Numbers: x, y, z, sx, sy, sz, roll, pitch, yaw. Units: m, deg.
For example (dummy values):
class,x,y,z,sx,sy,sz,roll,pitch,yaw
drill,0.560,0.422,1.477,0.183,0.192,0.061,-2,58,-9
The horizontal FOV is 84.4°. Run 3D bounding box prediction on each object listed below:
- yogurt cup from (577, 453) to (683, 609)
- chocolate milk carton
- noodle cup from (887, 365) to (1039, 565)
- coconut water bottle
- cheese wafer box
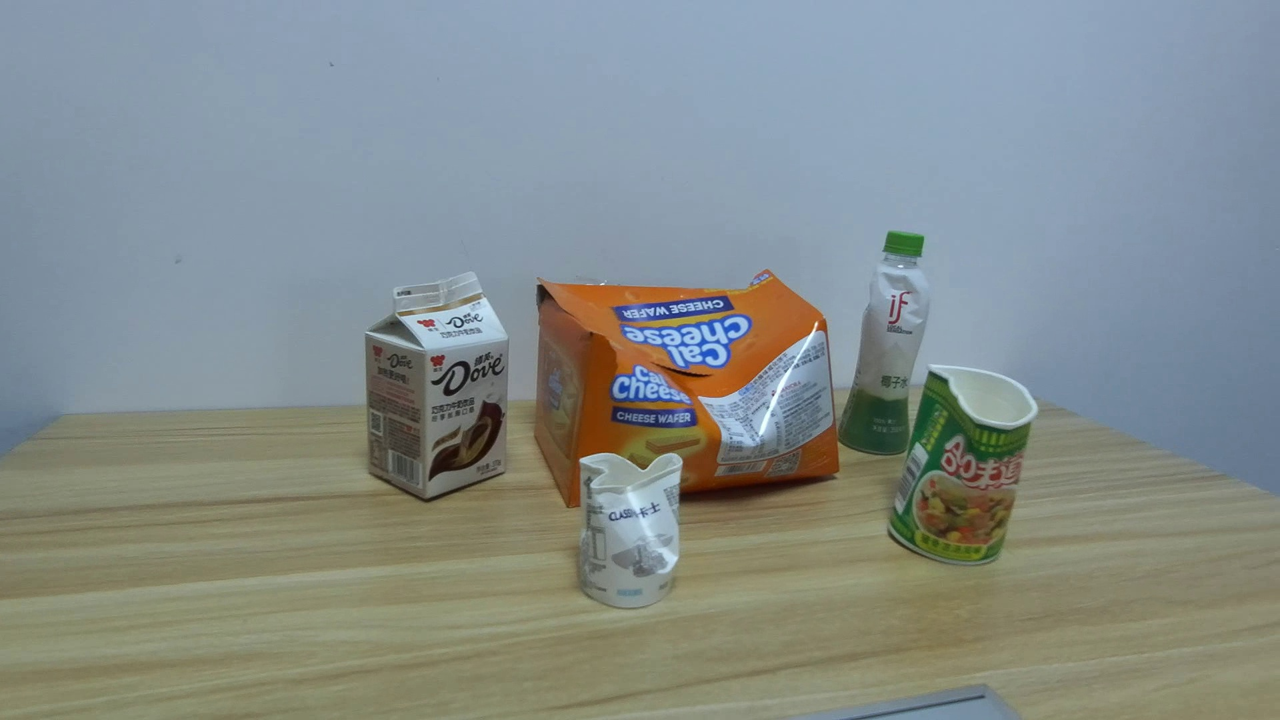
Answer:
class,x,y,z,sx,sy,sz,roll,pitch,yaw
yogurt cup,-0.006,0.091,0.394,0.055,0.072,0.055,0,17,-10
chocolate milk carton,-0.146,0.013,0.514,0.073,0.148,0.076,14,17,36
noodle cup,0.205,0.067,0.455,0.070,0.111,0.115,10,18,24
coconut water bottle,0.217,-0.015,0.615,0.067,0.187,0.067,5,12,-1
cheese wafer box,0.040,0.013,0.556,0.220,0.145,0.190,-2,15,-19
